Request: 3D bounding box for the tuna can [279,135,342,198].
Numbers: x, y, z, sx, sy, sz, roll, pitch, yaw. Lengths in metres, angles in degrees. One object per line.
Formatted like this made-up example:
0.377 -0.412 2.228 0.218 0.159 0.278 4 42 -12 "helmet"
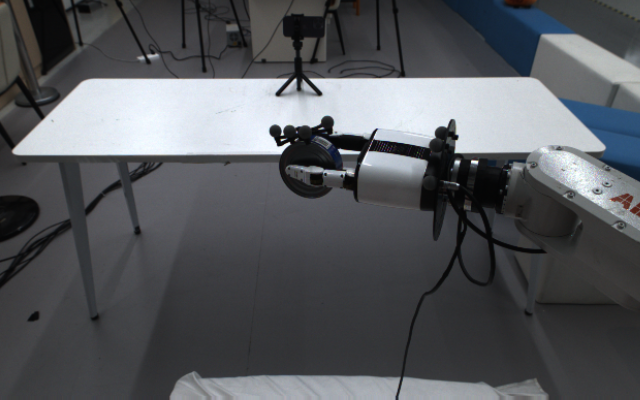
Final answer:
-0.010 -0.043 0.681 0.085 0.085 0.034 13 28 15 "tuna can"
